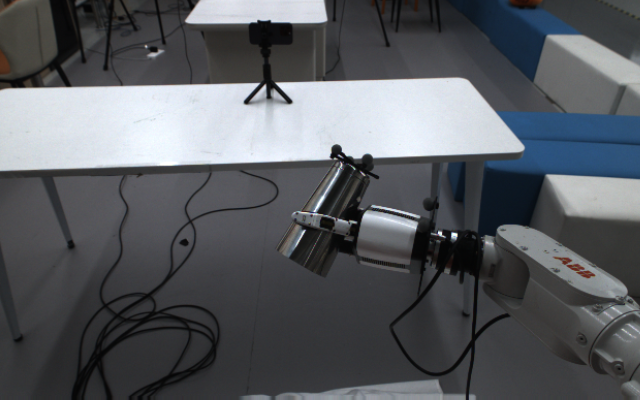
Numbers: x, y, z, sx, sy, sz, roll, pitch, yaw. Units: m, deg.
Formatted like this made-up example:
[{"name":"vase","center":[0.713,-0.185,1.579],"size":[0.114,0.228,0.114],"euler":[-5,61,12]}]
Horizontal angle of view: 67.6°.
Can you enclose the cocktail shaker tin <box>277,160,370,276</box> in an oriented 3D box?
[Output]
[{"name":"cocktail shaker tin","center":[0.010,0.023,0.770],"size":[0.093,0.093,0.170],"euler":[26,83,31]}]
